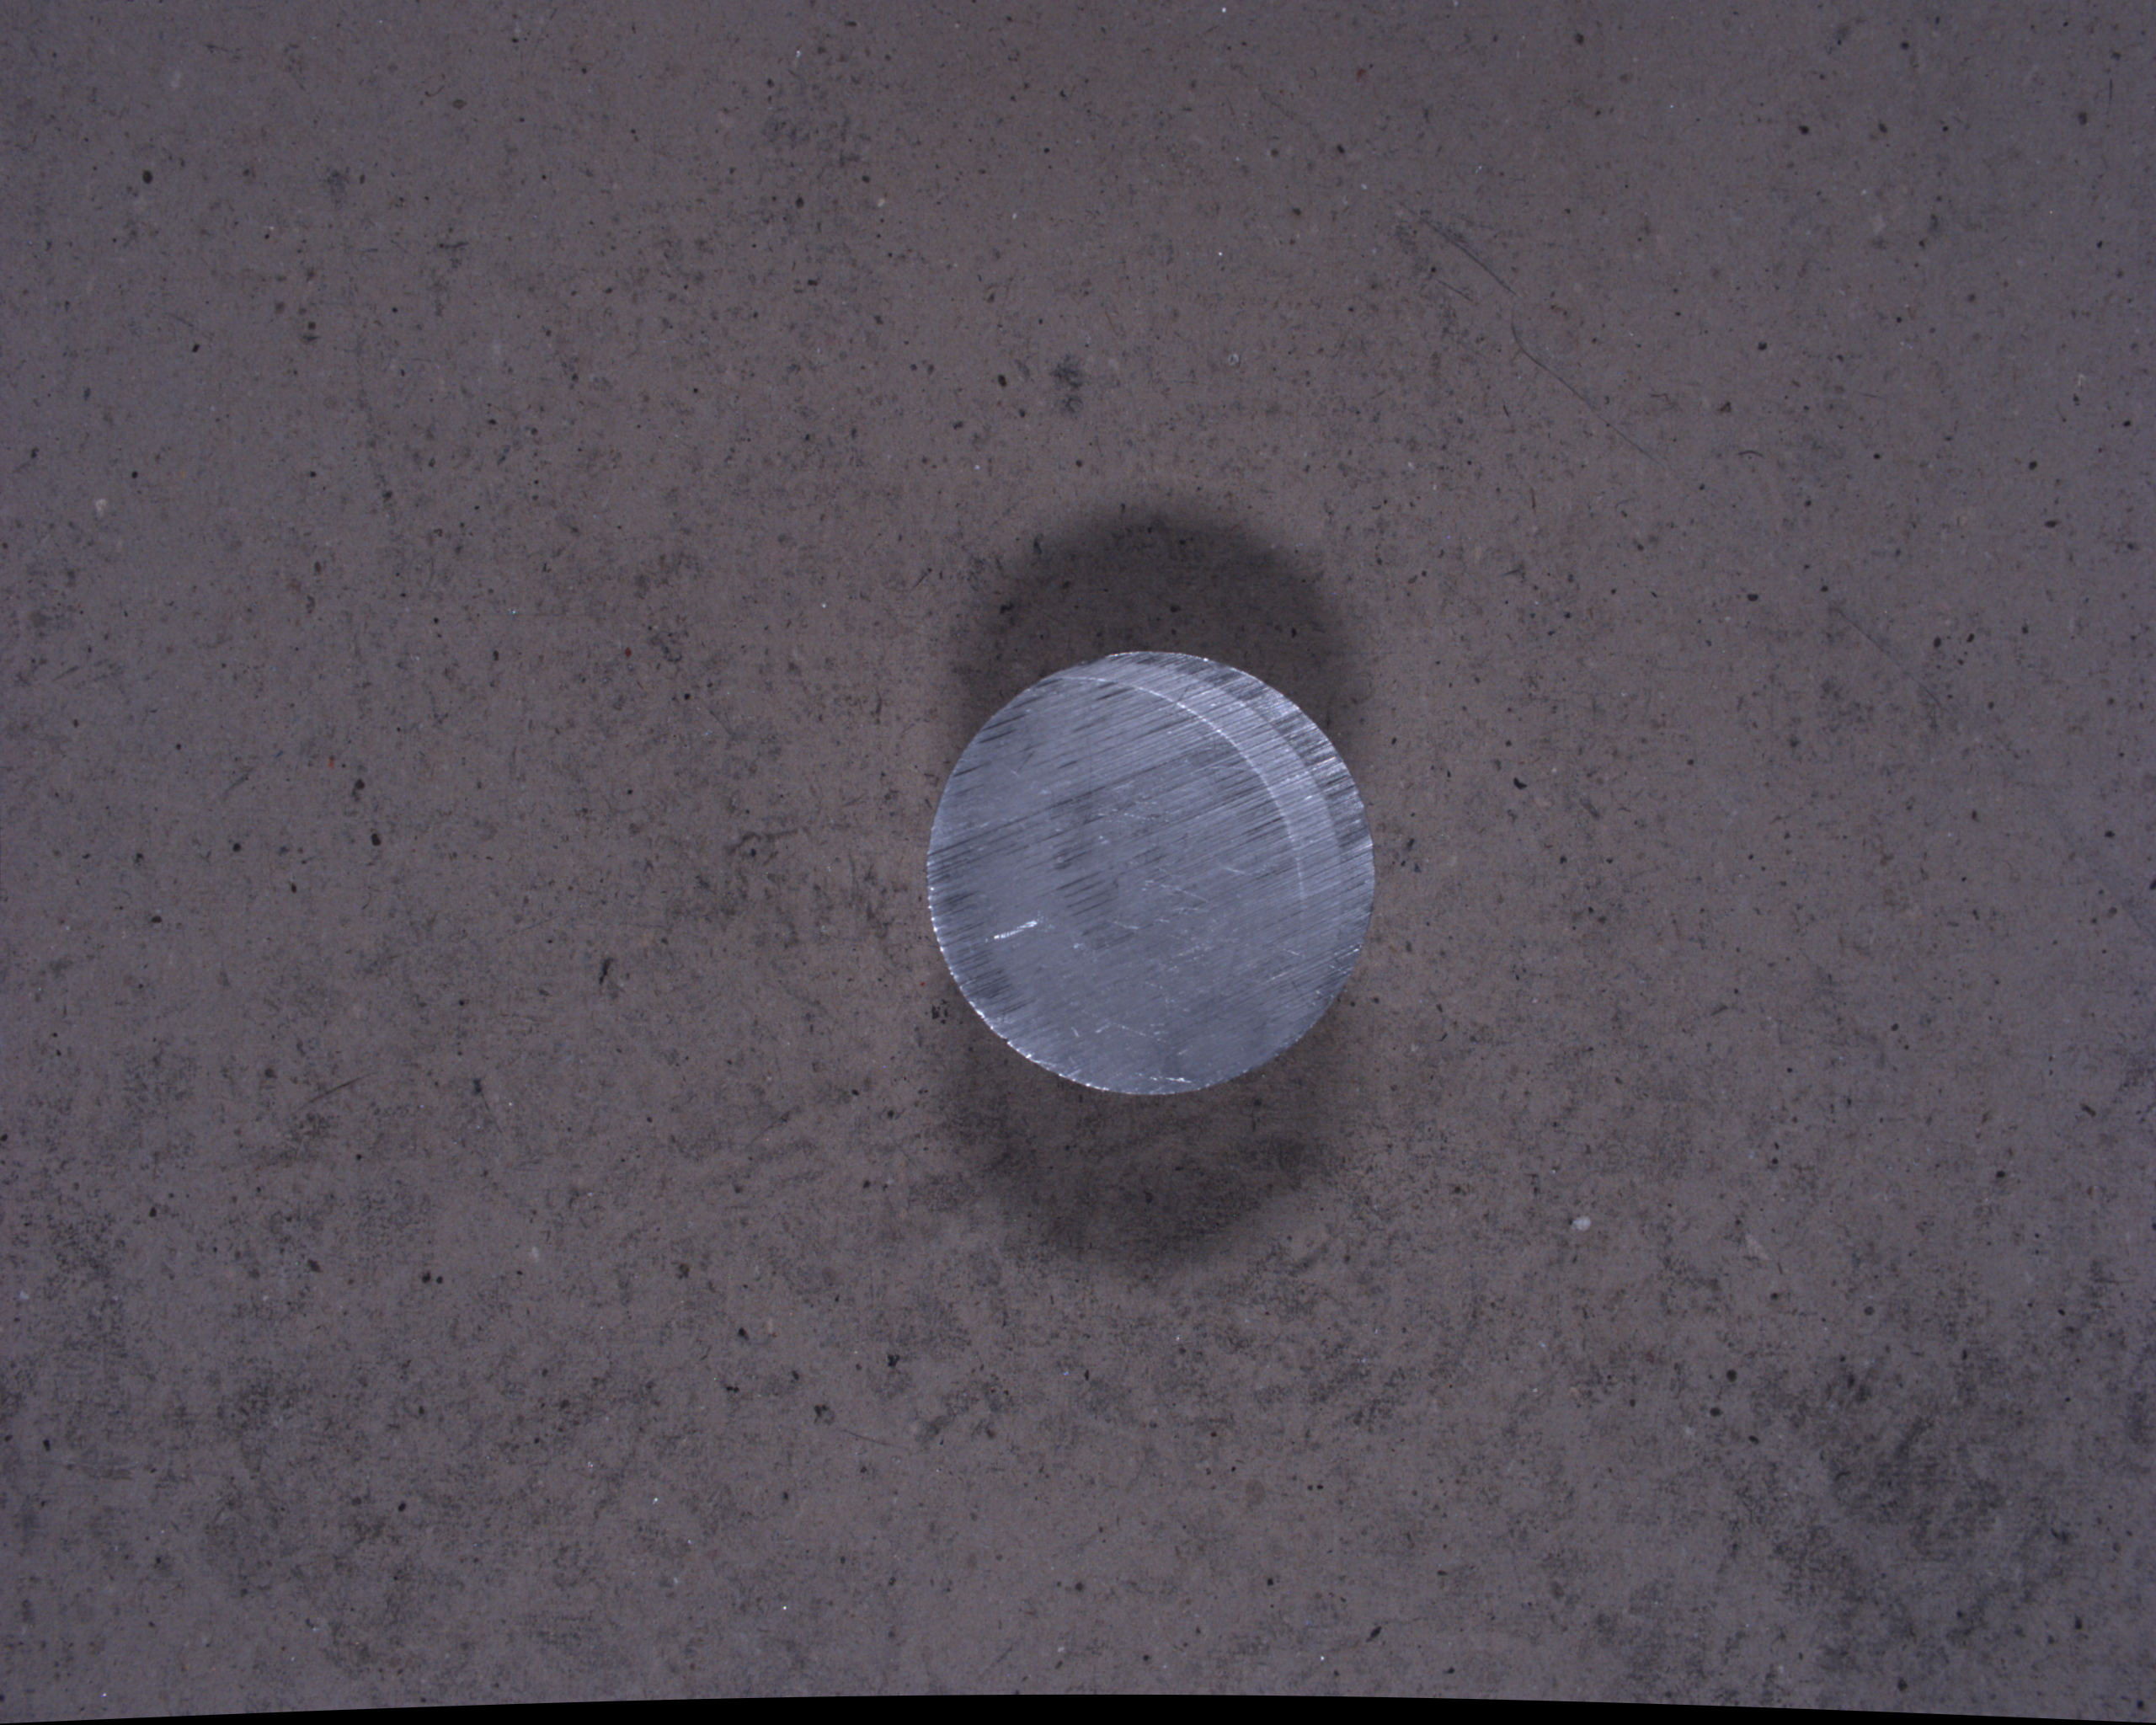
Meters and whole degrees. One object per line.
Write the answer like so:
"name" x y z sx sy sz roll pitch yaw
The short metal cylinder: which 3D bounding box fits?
"short metal cylinder" 0.013 0.002 0.399 0.081 0.050 0.079 0 90 -1
